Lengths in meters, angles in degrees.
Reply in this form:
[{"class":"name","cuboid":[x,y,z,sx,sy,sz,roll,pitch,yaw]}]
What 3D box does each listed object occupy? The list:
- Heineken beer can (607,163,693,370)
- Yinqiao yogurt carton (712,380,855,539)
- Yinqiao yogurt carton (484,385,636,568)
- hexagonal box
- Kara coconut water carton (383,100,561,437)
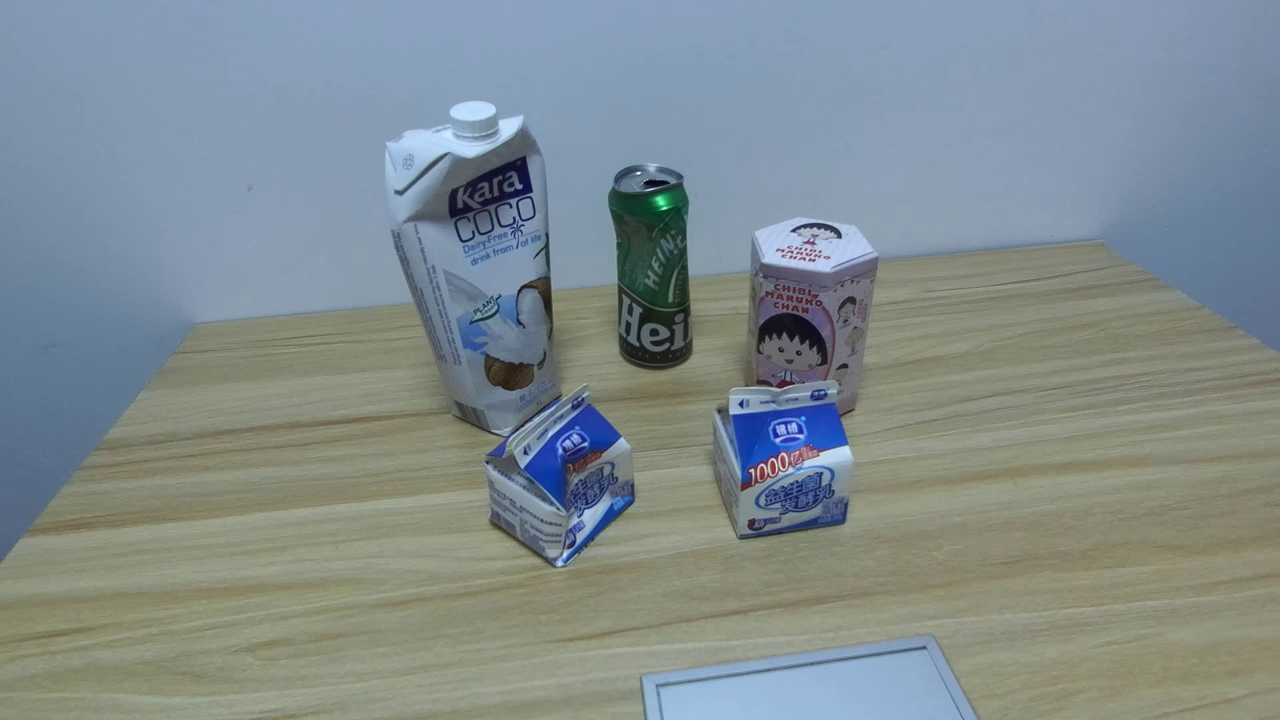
[{"class":"Heineken beer can","cuboid":[0.010,-0.074,0.587,0.066,0.164,0.077,1,35,7]},{"class":"Yinqiao yogurt carton","cuboid":[0.091,0.053,0.453,0.076,0.092,0.073,-6,33,-7]},{"class":"Yinqiao yogurt carton","cuboid":[-0.053,0.065,0.446,0.071,0.094,0.077,25,44,29]},{"class":"hexagonal box","cuboid":[0.124,-0.026,0.528,0.091,0.136,0.084,13,37,23]},{"class":"Kara coconut water carton","cuboid":[-0.113,-0.061,0.510,0.069,0.239,0.115,21,41,29]}]
